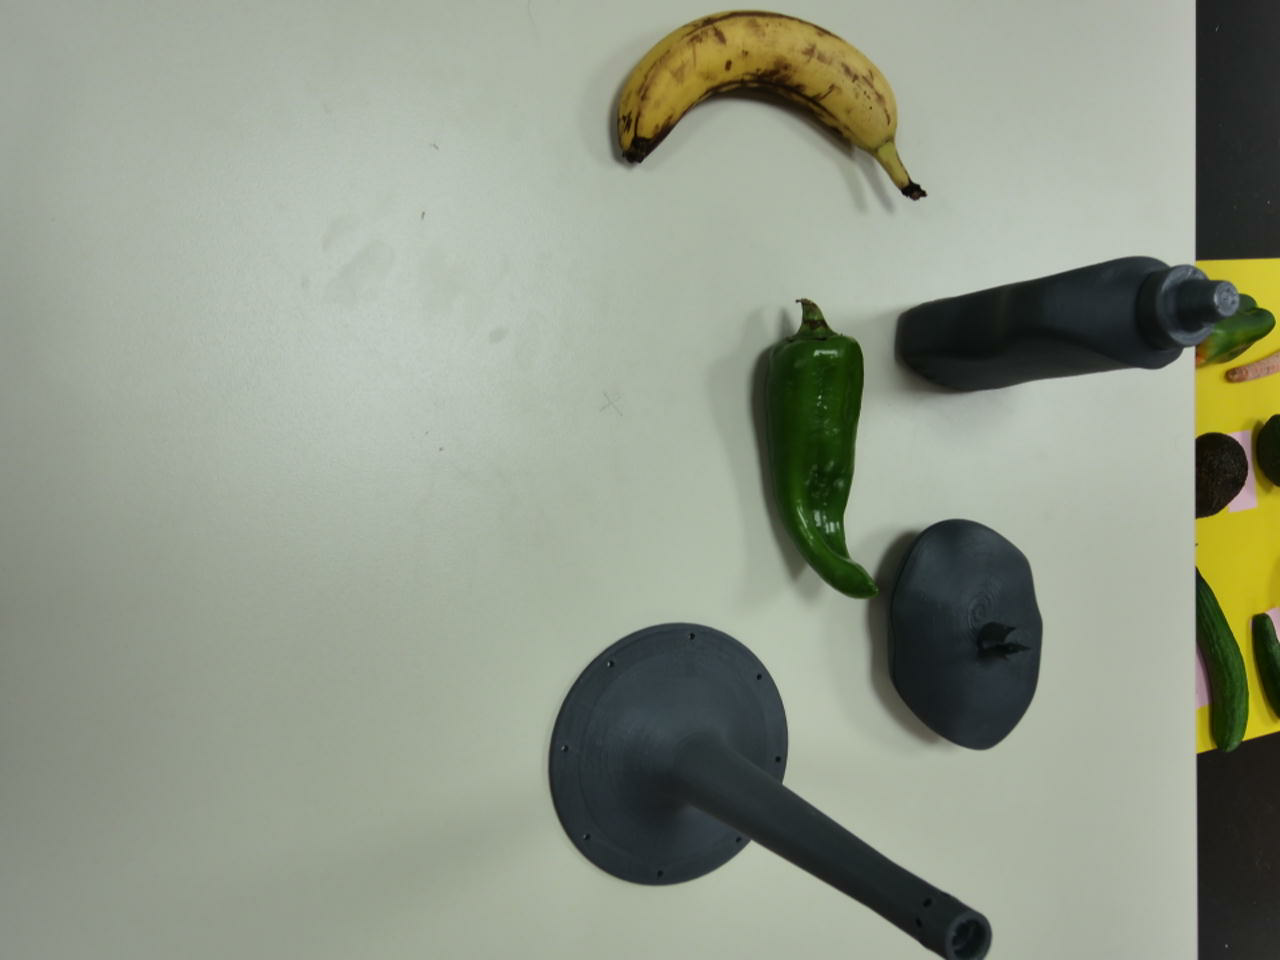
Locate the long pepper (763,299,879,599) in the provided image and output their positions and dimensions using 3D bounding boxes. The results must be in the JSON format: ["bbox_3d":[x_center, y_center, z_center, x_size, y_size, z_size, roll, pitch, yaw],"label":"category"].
[{"bbox_3d":[0.105,-0.018,0.572,0.058,0.065,0.175,-3,91,-22],"label":"long pepper"}]
